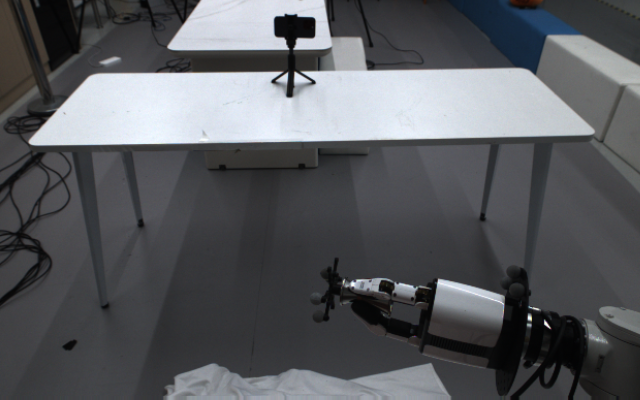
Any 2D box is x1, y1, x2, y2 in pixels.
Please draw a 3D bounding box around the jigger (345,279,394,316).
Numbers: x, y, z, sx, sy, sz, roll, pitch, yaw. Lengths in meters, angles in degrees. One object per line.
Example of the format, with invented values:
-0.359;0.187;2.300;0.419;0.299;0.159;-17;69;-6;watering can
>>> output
0.071;0.124;0.652;0.071;0.043;0.043;8;35;15;jigger
